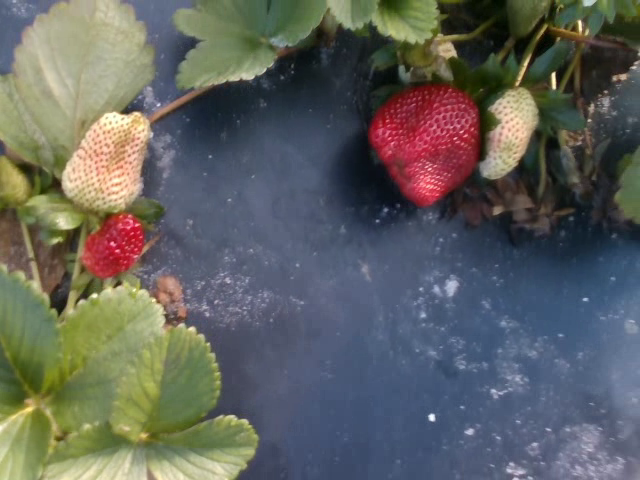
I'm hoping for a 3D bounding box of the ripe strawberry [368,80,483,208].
[{"bbox_3d":[0.048,-0.042,0.283,0.057,0.058,0.070,13,28,30],"label":"ripe strawberry"}]
